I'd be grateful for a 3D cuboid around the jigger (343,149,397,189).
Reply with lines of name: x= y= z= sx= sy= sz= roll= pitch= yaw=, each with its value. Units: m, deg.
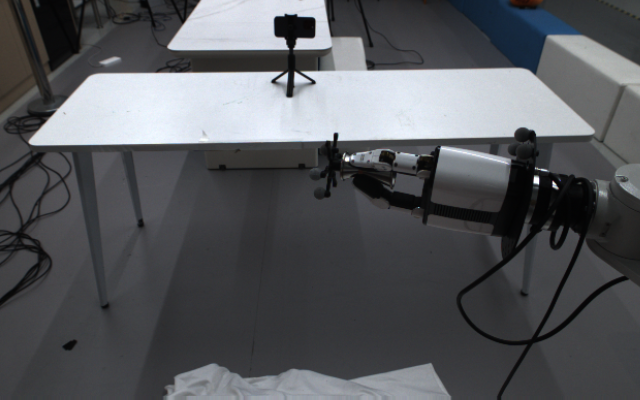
jigger: x=0.071 y=-0.045 z=0.631 sx=0.071 sy=0.043 sz=0.043 roll=8 pitch=35 yaw=16
